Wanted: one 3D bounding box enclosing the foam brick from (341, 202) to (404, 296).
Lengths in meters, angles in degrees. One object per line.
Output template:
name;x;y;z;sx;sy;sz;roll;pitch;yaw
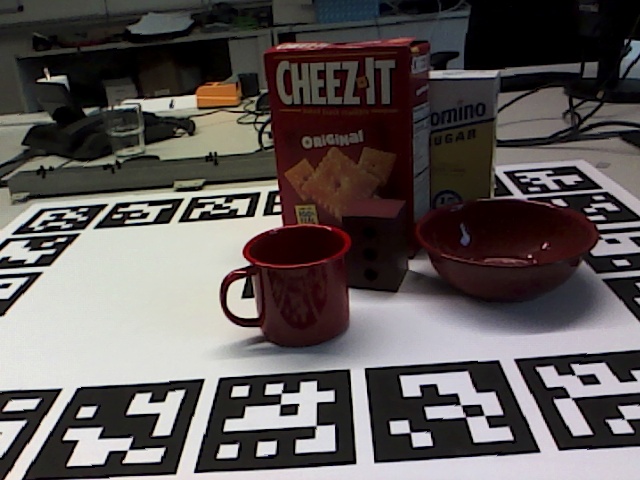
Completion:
foam brick;0.054;0.008;0.611;0.053;0.078;0.051;2;24;17

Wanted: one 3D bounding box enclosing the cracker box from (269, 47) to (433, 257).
cracker box;0.033;-0.097;0.675;0.165;0.213;0.072;10;26;29

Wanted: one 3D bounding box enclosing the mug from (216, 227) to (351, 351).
mug;-0.029;0.043;0.525;0.117;0.081;0.093;-9;16;-5

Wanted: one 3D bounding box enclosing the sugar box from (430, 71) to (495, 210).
sugar box;0.145;-0.095;0.689;0.093;0.176;0.045;5;26;22

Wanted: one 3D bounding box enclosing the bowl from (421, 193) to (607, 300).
bowl;0.175;0.009;0.575;0.162;0.055;0.162;-4;25;2
